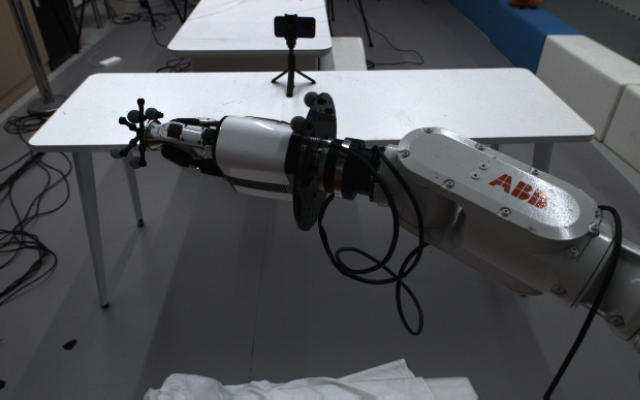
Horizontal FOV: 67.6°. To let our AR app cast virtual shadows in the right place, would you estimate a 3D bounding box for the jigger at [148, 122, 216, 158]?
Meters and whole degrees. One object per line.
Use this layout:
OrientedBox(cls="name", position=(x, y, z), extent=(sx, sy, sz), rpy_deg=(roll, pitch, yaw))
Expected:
OrientedBox(cls="jigger", position=(-0.175, -0.080, 0.606), extent=(0.071, 0.043, 0.043), rpy_deg=(10, 35, 16))
